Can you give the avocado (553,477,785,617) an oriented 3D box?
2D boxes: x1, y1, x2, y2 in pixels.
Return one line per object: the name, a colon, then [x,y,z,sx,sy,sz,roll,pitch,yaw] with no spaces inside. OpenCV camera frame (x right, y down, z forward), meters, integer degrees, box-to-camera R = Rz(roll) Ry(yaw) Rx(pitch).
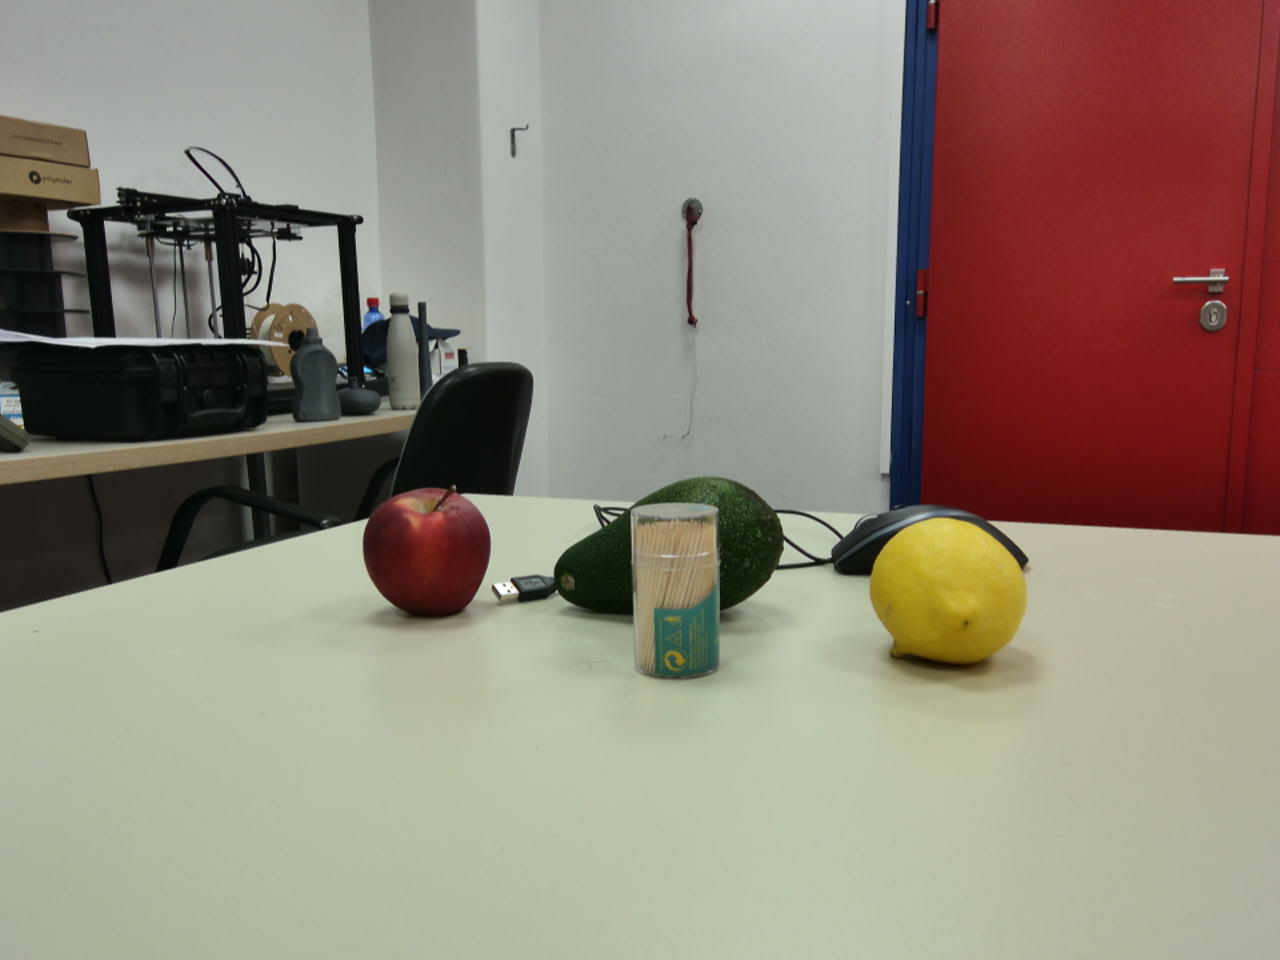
avocado: [0.020,0.035,0.550,0.123,0.076,0.074,3,7,30]
